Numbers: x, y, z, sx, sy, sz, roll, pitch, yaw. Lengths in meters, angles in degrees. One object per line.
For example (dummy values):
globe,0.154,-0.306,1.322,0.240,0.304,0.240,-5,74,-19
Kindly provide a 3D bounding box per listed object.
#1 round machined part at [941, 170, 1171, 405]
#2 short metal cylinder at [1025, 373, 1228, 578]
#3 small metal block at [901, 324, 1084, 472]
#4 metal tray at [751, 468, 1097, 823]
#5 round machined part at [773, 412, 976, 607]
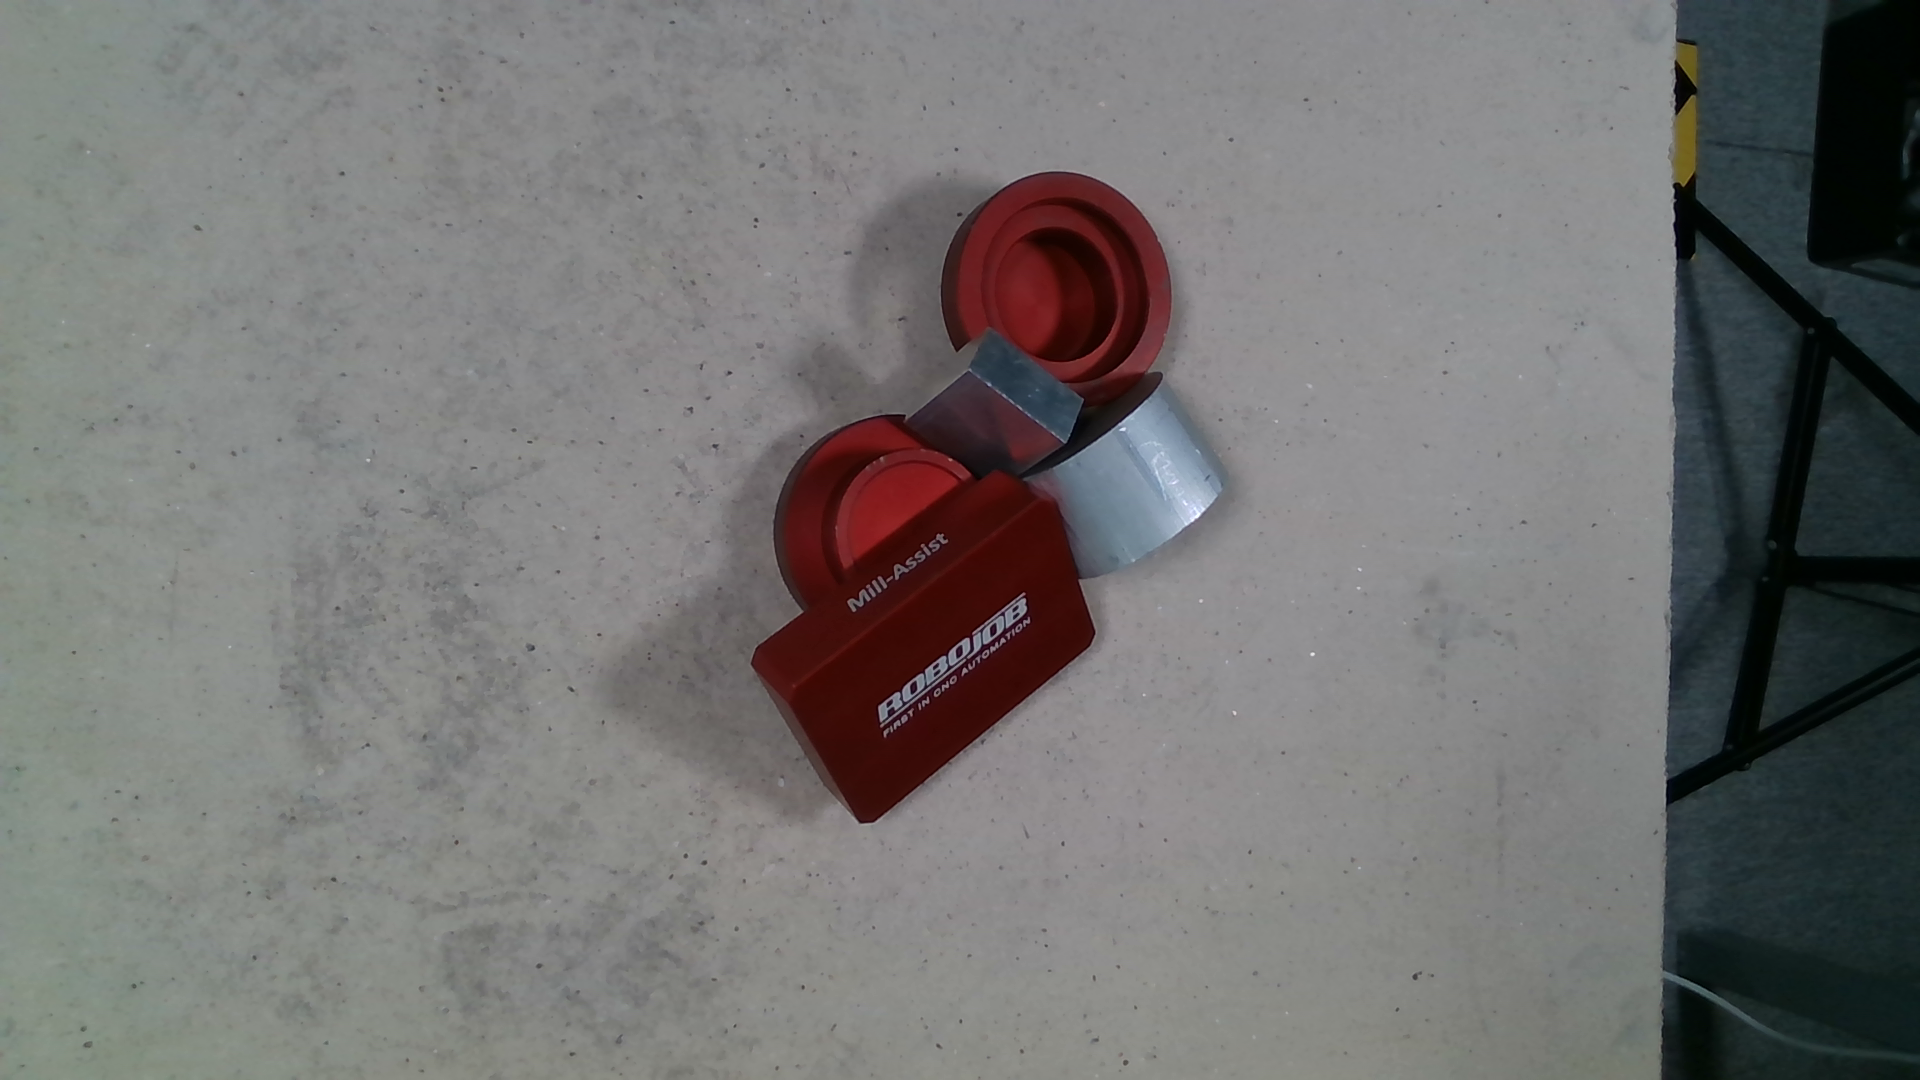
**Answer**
round machined part,0.038,-0.104,0.590,0.098,0.042,0.098,0,90,-20
short metal cylinder,0.066,-0.028,0.582,0.080,0.080,0.050,-40,103,-16
small metal block,0.013,-0.053,0.558,0.050,0.050,0.025,35,54,-17
metal tray,-0.010,0.043,0.556,0.130,0.030,0.090,-37,134,-16
round machined part,-0.025,-0.004,0.568,0.098,0.042,0.098,0,90,-20
